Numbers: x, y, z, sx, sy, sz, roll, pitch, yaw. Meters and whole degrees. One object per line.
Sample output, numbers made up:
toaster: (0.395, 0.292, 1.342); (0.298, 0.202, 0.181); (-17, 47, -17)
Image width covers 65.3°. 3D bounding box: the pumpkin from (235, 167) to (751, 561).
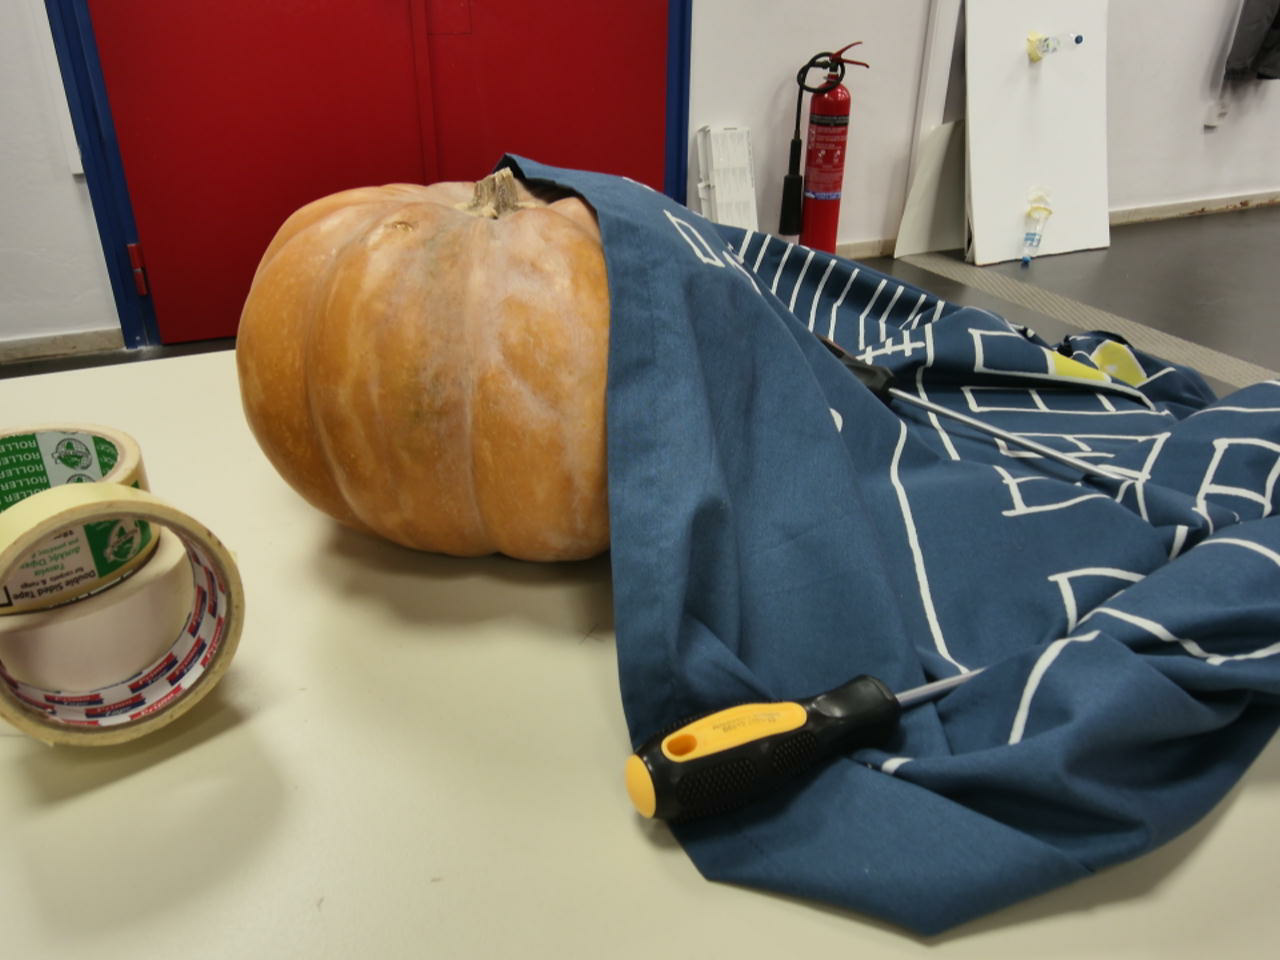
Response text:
pumpkin: (-0.069, -0.066, 0.518); (0.277, 0.181, 0.277); (0, 26, 0)
